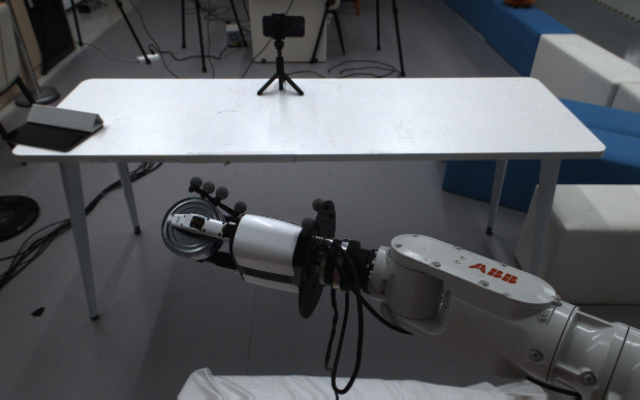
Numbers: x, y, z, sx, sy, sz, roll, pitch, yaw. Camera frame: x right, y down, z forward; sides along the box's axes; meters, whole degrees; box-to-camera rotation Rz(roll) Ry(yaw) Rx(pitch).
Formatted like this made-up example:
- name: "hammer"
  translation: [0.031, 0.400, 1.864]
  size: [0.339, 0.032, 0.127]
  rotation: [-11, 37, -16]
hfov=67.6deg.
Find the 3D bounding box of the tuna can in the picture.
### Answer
- name: "tuna can"
  translation: [-0.176, 0.042, 0.683]
  size: [0.085, 0.034, 0.085]
  rotation: [-2, 70, 6]
